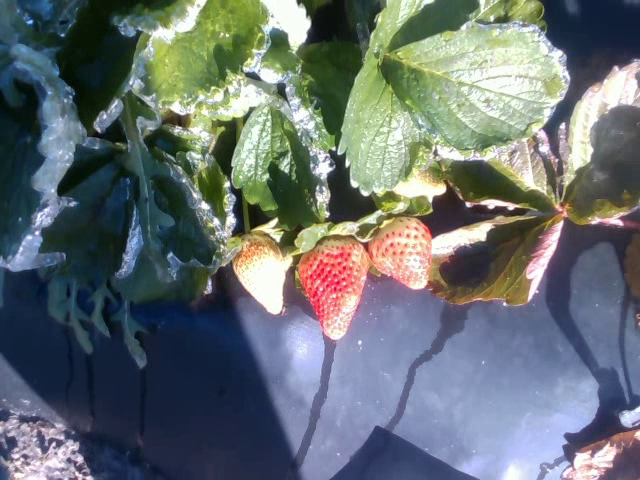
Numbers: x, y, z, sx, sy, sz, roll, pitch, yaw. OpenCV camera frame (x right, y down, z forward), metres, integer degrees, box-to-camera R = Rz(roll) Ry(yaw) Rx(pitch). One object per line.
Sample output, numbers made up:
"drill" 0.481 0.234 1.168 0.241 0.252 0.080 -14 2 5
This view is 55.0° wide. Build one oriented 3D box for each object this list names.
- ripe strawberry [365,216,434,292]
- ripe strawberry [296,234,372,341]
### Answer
"ripe strawberry" 0.044 0.007 0.293 0.036 0.041 0.030 -33 11 29
"ripe strawberry" 0.009 0.027 0.294 0.036 0.051 0.039 -9 -11 19
